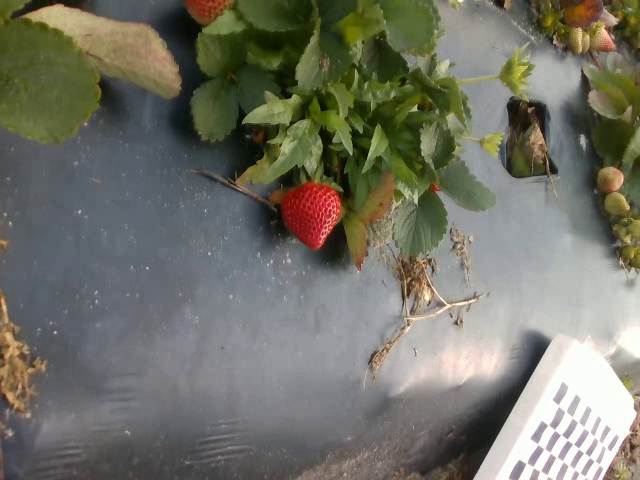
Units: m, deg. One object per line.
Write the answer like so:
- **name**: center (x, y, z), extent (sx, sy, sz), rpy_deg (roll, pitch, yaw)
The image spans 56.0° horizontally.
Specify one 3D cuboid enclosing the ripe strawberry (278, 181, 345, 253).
- **ripe strawberry**: center (-0.008, -0.015, 0.398), extent (0.043, 0.051, 0.042), rpy_deg (16, -24, -42)
